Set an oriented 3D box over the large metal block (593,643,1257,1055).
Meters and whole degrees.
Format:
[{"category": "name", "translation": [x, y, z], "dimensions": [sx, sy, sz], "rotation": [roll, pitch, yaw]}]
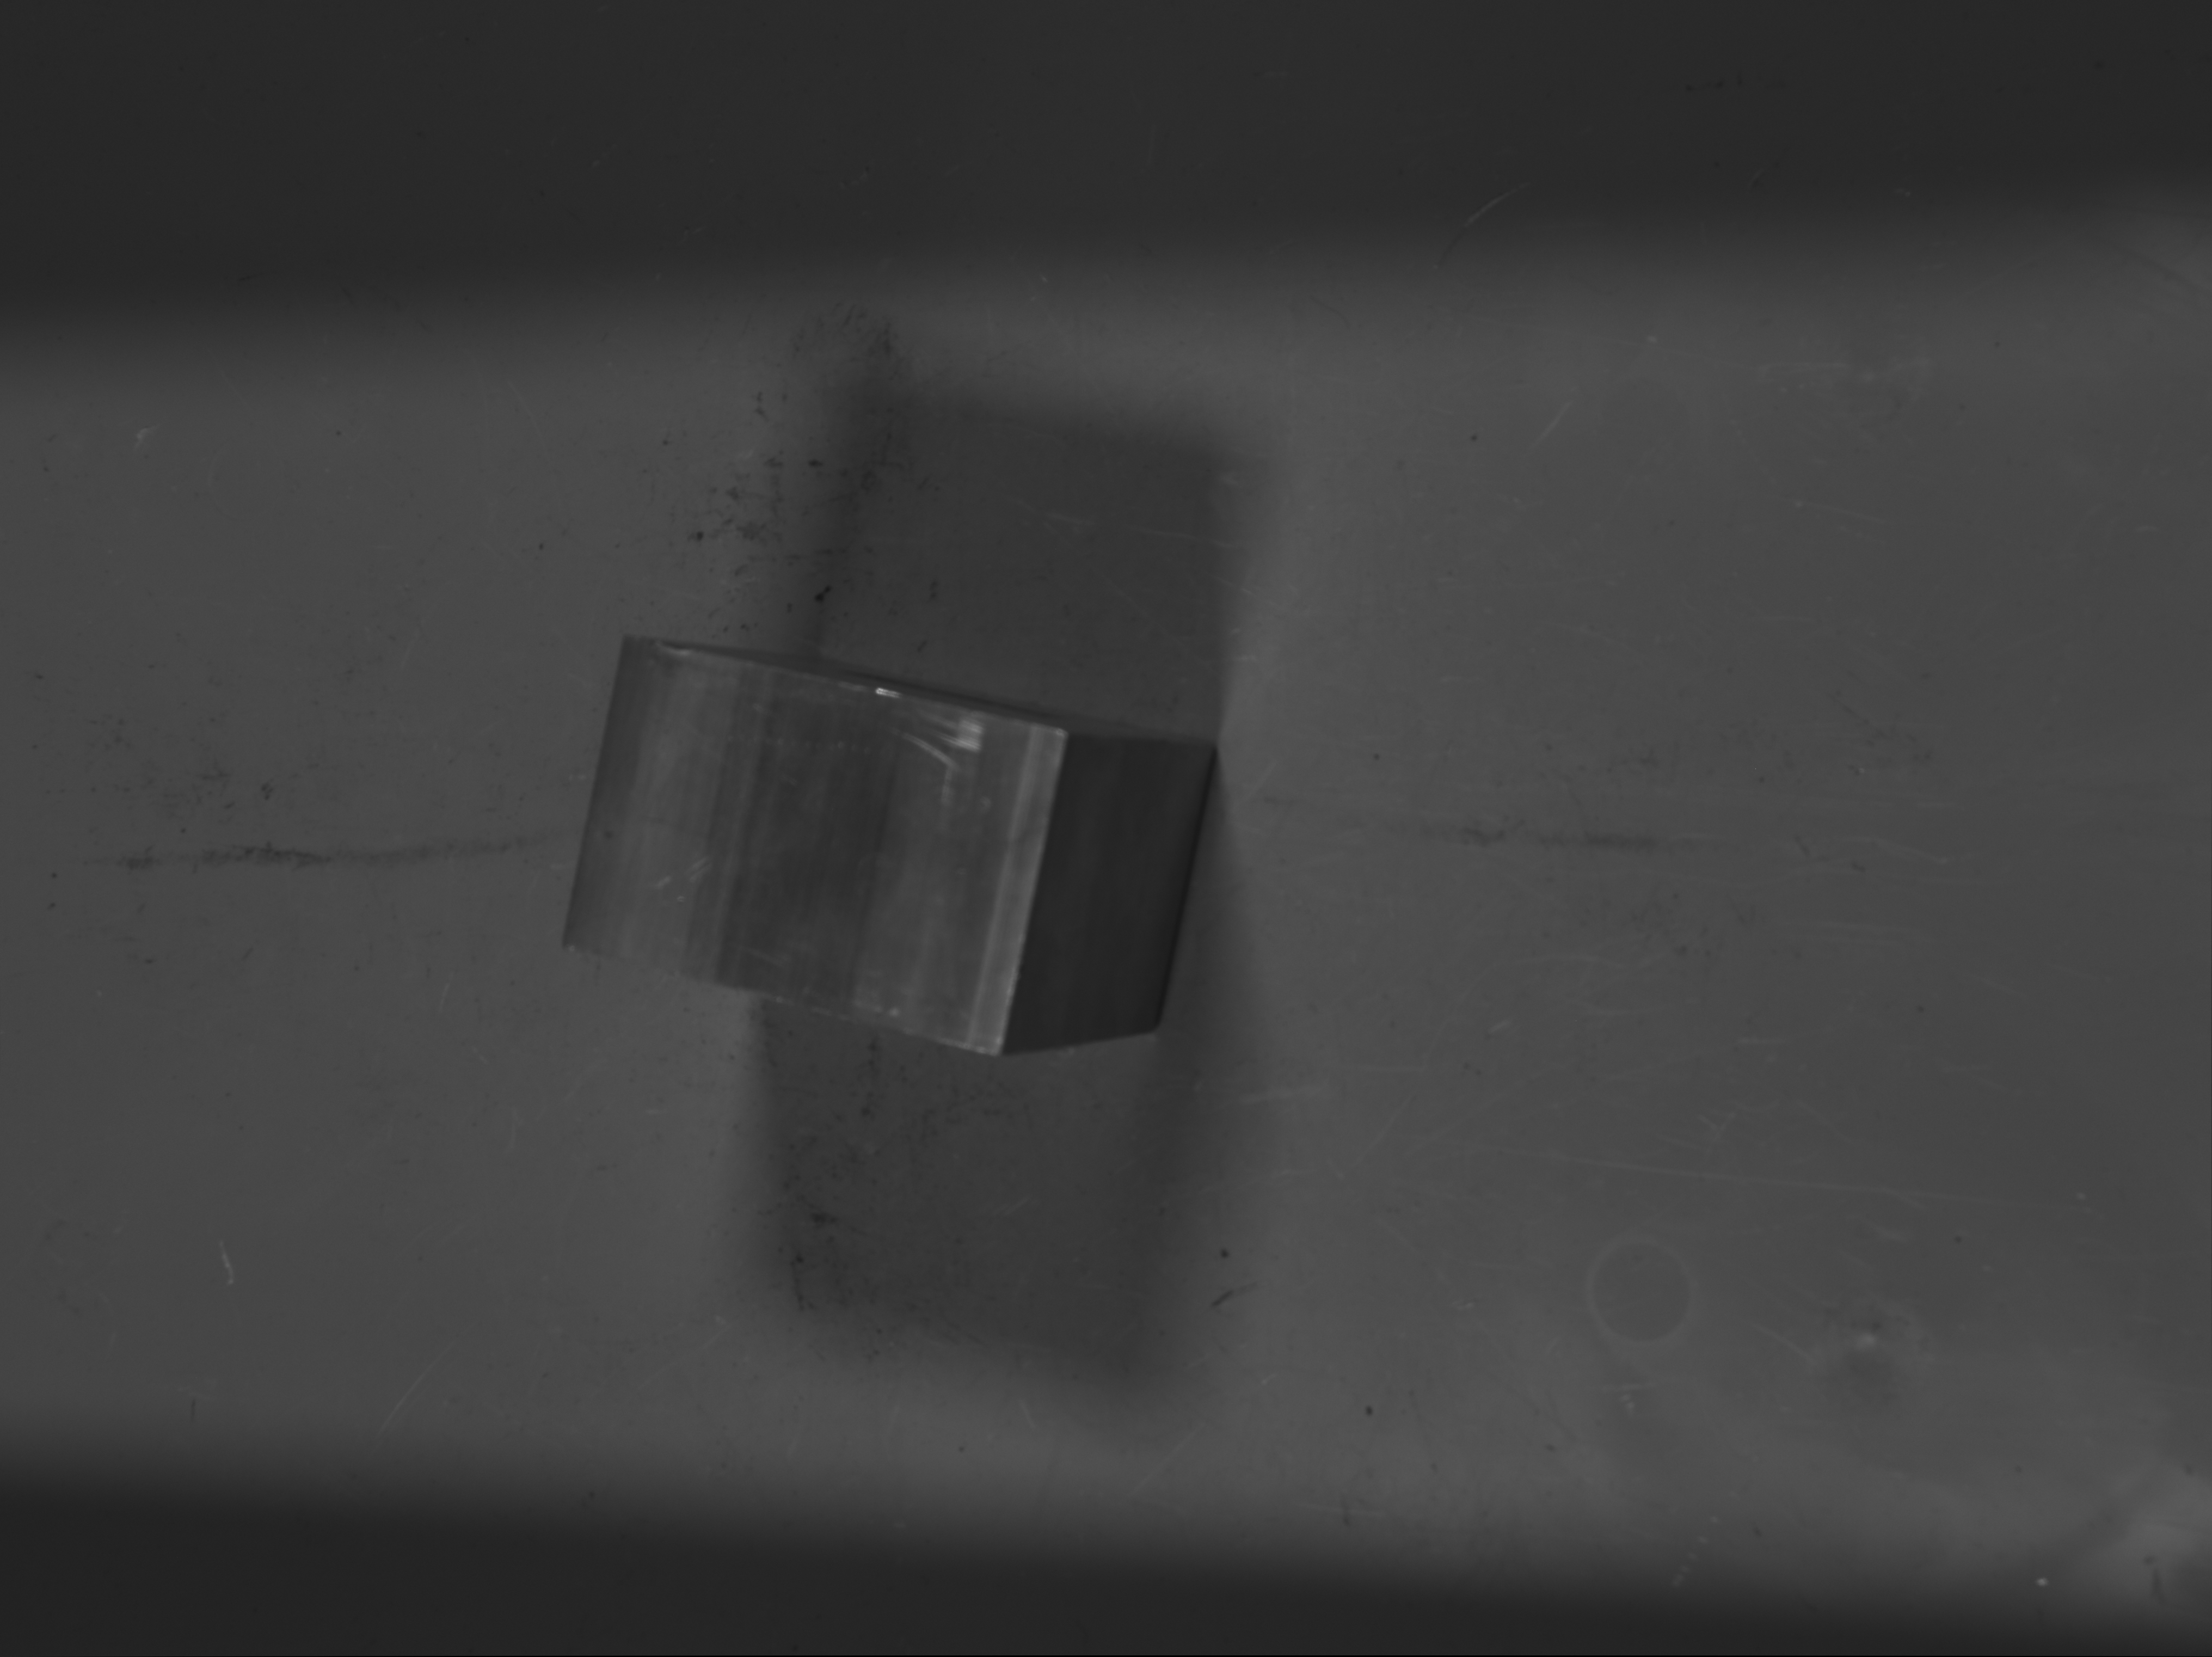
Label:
[{"category": "large metal block", "translation": [-0.029, 0.003, 0.623], "dimensions": [0.080, 0.080, 0.050], "rotation": [13, 94, 19]}]
